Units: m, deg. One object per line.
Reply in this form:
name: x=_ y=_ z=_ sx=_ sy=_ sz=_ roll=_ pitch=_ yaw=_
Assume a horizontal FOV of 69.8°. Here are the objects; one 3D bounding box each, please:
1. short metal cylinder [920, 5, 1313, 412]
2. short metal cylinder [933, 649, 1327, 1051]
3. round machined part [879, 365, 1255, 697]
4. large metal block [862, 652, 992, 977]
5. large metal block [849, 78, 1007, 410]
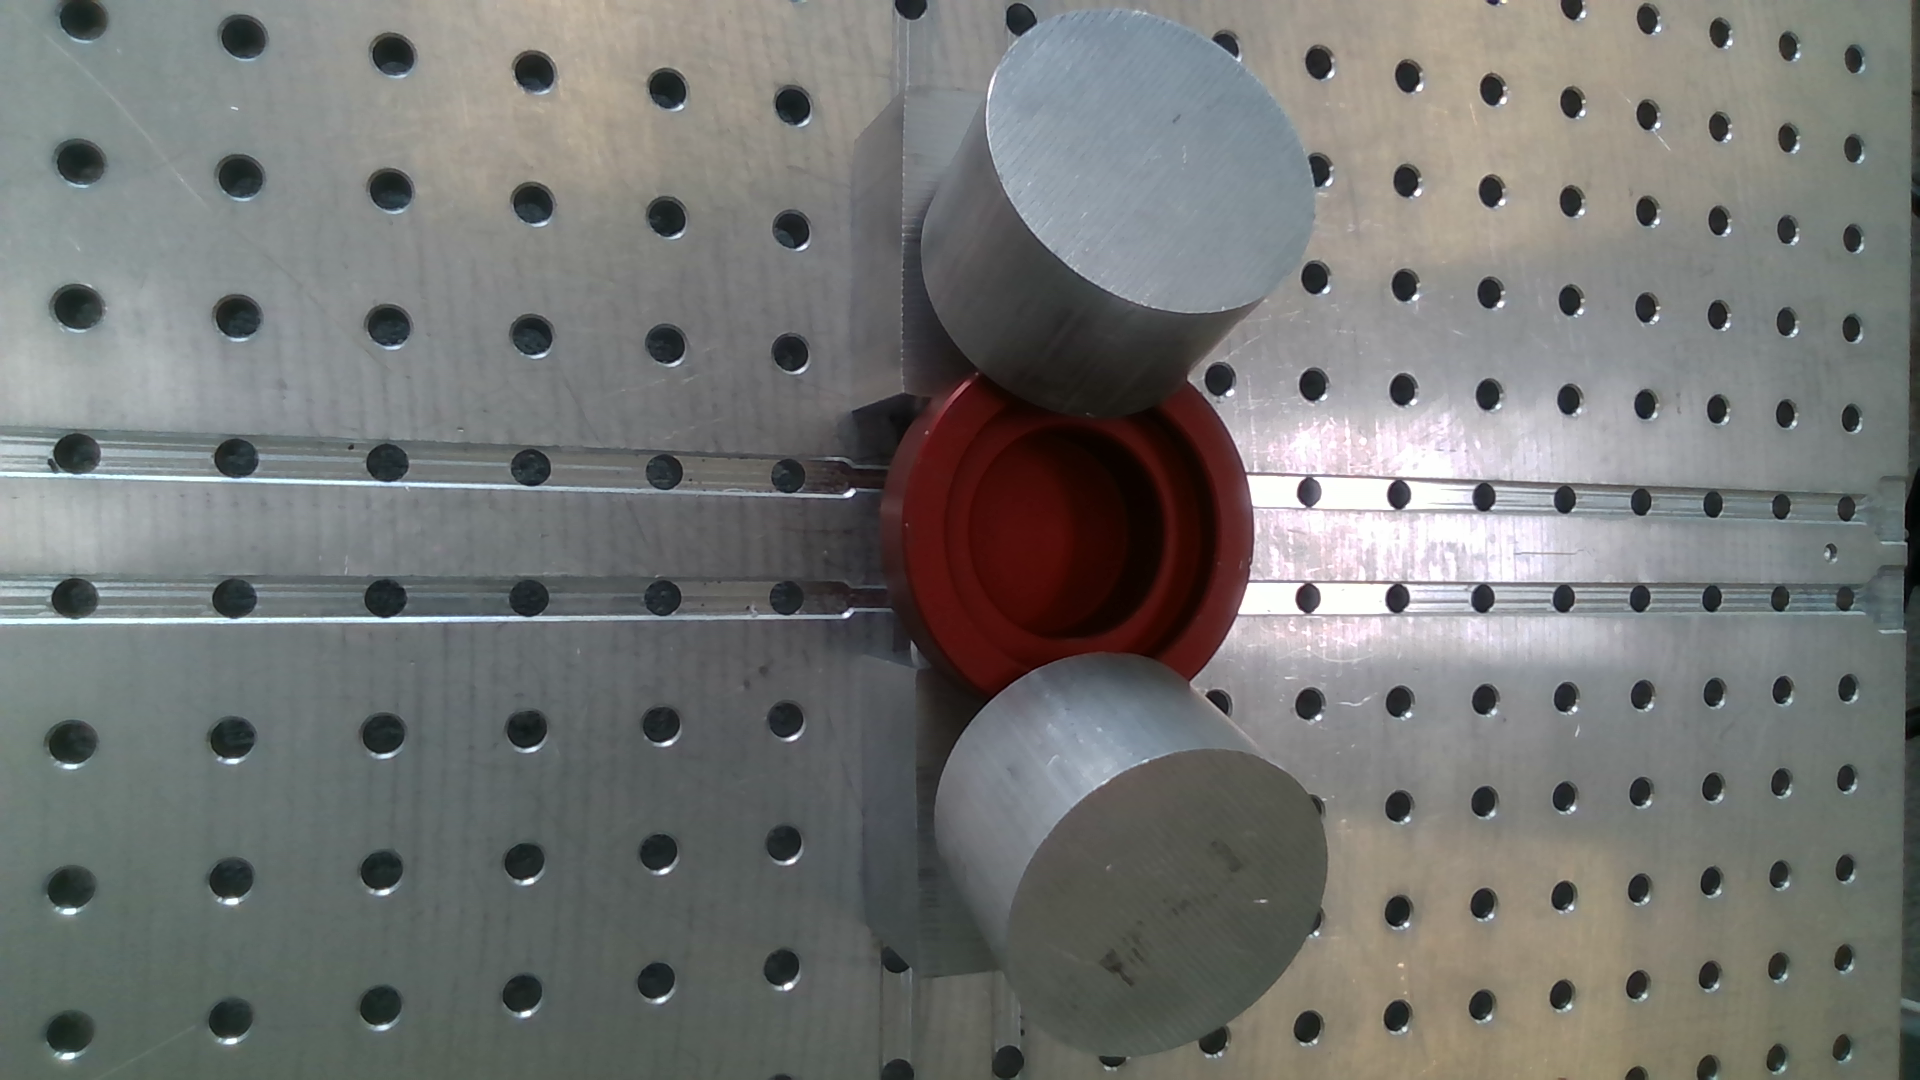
short metal cylinder: x=0.036 y=-0.078 z=0.329 sx=0.080 sy=0.050 sz=0.080 roll=7 pitch=67 yaw=-16
short metal cylinder: x=0.039 y=0.073 z=0.331 sx=0.080 sy=0.050 sz=0.080 roll=-7 pitch=112 yaw=-18
round machined part: x=0.025 y=-0.003 z=0.366 sx=0.098 sy=0.042 sz=0.098 roll=0 pitch=90 yaw=-20
large metal block: x=0.018 y=0.072 z=0.390 sx=0.080 sy=0.050 sz=0.080 roll=-1 pitch=90 yaw=-20
large metal block: x=0.014 y=-0.077 z=0.388 sx=0.080 sy=0.050 sz=0.080 roll=1 pitch=90 yaw=-20
